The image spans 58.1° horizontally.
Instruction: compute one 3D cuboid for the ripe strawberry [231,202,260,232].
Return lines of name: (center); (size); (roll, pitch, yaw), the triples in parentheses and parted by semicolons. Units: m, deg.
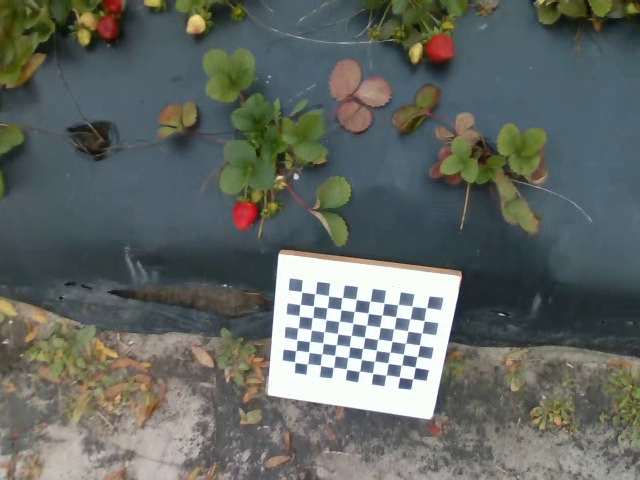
ripe strawberry: (-0.039, -0.016, 0.272); (0.018, 0.017, 0.014); (9, -25, -2)
